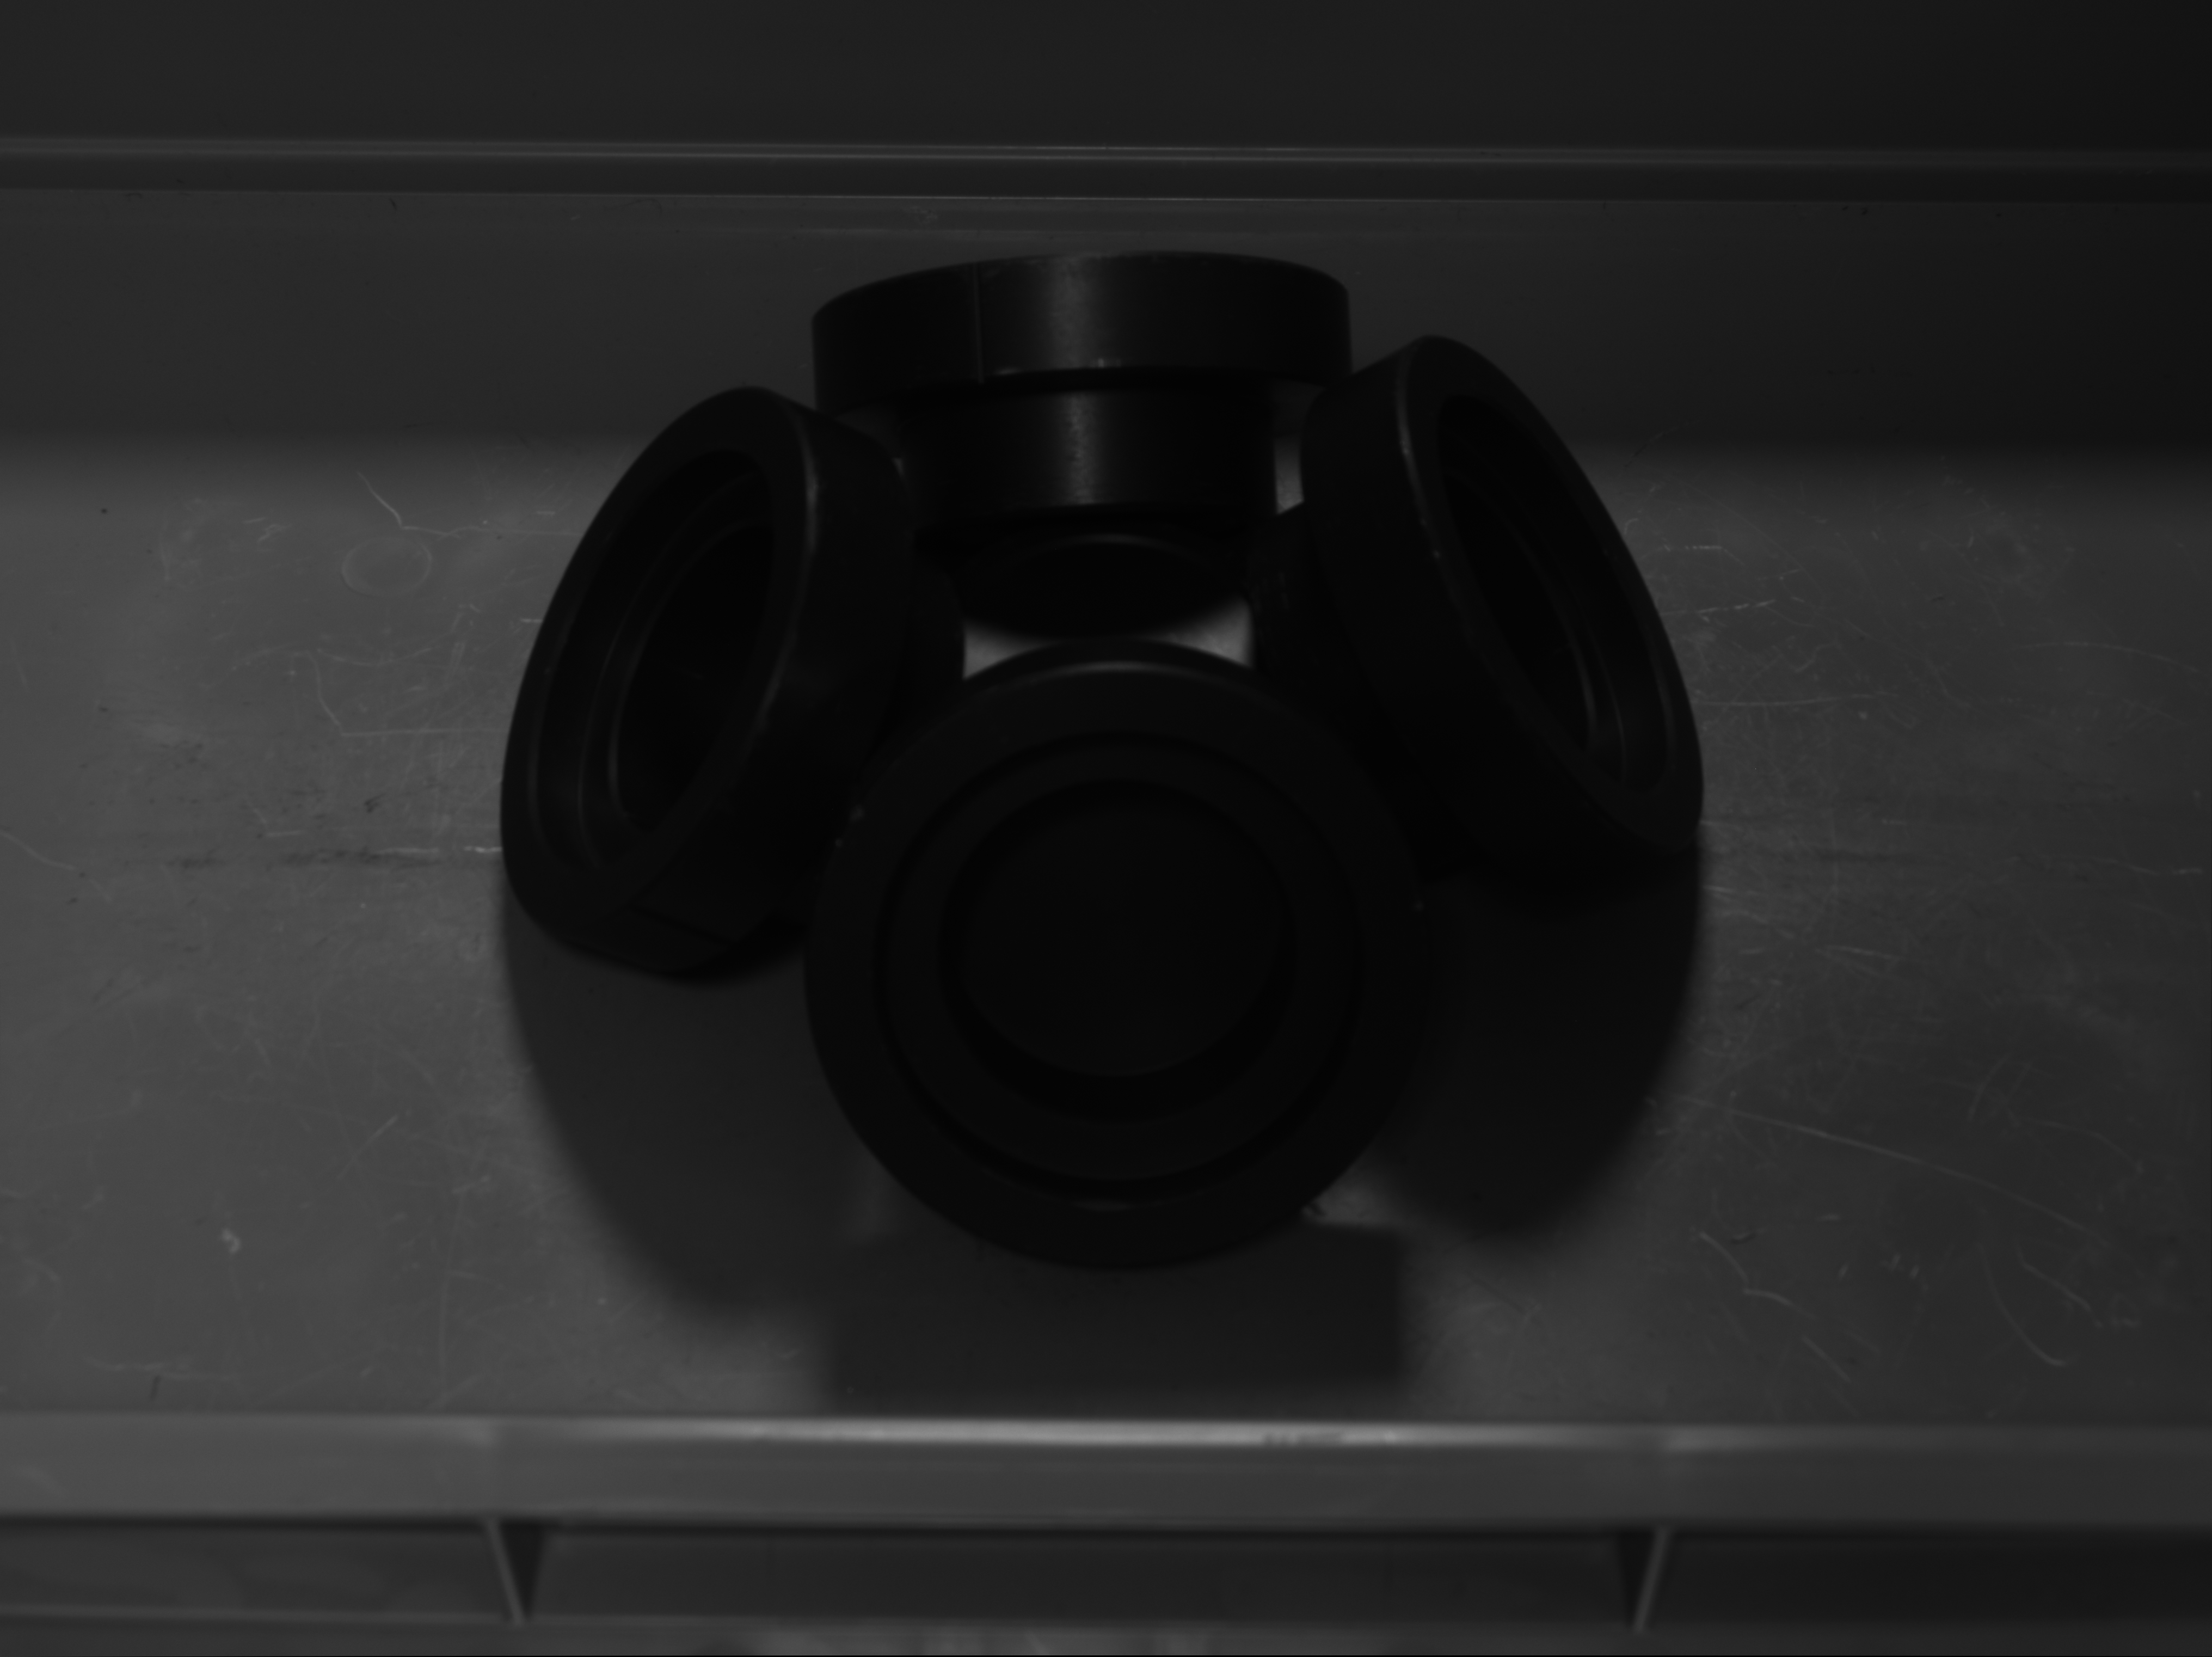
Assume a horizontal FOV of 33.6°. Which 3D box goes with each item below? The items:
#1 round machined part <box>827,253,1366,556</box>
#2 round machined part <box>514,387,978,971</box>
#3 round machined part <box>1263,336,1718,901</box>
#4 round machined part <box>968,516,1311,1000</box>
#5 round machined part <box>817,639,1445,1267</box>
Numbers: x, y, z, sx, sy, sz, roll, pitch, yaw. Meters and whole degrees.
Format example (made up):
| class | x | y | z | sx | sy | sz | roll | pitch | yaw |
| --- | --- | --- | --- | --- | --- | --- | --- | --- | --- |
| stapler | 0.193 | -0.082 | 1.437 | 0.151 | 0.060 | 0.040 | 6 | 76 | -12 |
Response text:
| class | x | y | z | sx | sy | sz | roll | pitch | yaw |
| --- | --- | --- | --- | --- | --- | --- | --- | --- | --- |
| round machined part | -0.001 | -0.074 | 0.668 | 0.098 | 0.098 | 0.042 | -3 | 88 | -2 |
| round machined part | -0.058 | -0.022 | 0.624 | 0.042 | 0.098 | 0.098 | 22 | 41 | -31 |
| round machined part | 0.063 | -0.032 | 0.633 | 0.042 | 0.098 | 0.098 | -27 | 45 | 25 |
| round machined part | 0.003 | -0.017 | 0.643 | 0.098 | 0.042 | 0.098 | 0 | 50 | 0 |
| round machined part | 0.004 | 0.017 | 0.590 | 0.098 | 0.098 | 0.042 | -1 | 14 | -1 |
